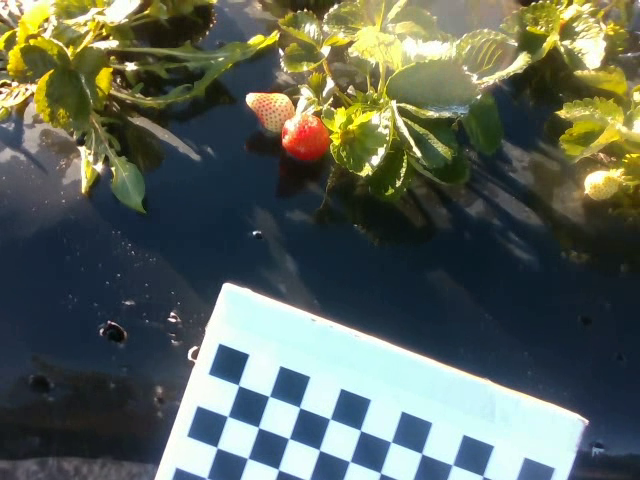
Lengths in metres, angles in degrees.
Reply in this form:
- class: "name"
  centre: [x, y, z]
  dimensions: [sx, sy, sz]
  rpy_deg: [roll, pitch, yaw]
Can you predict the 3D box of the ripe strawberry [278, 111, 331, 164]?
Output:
- class: "ripe strawberry"
  centre: [-0.014, -0.077, 0.456]
  dimensions: [0.040, 0.038, 0.055]
  rpy_deg: [3, 3, 26]
